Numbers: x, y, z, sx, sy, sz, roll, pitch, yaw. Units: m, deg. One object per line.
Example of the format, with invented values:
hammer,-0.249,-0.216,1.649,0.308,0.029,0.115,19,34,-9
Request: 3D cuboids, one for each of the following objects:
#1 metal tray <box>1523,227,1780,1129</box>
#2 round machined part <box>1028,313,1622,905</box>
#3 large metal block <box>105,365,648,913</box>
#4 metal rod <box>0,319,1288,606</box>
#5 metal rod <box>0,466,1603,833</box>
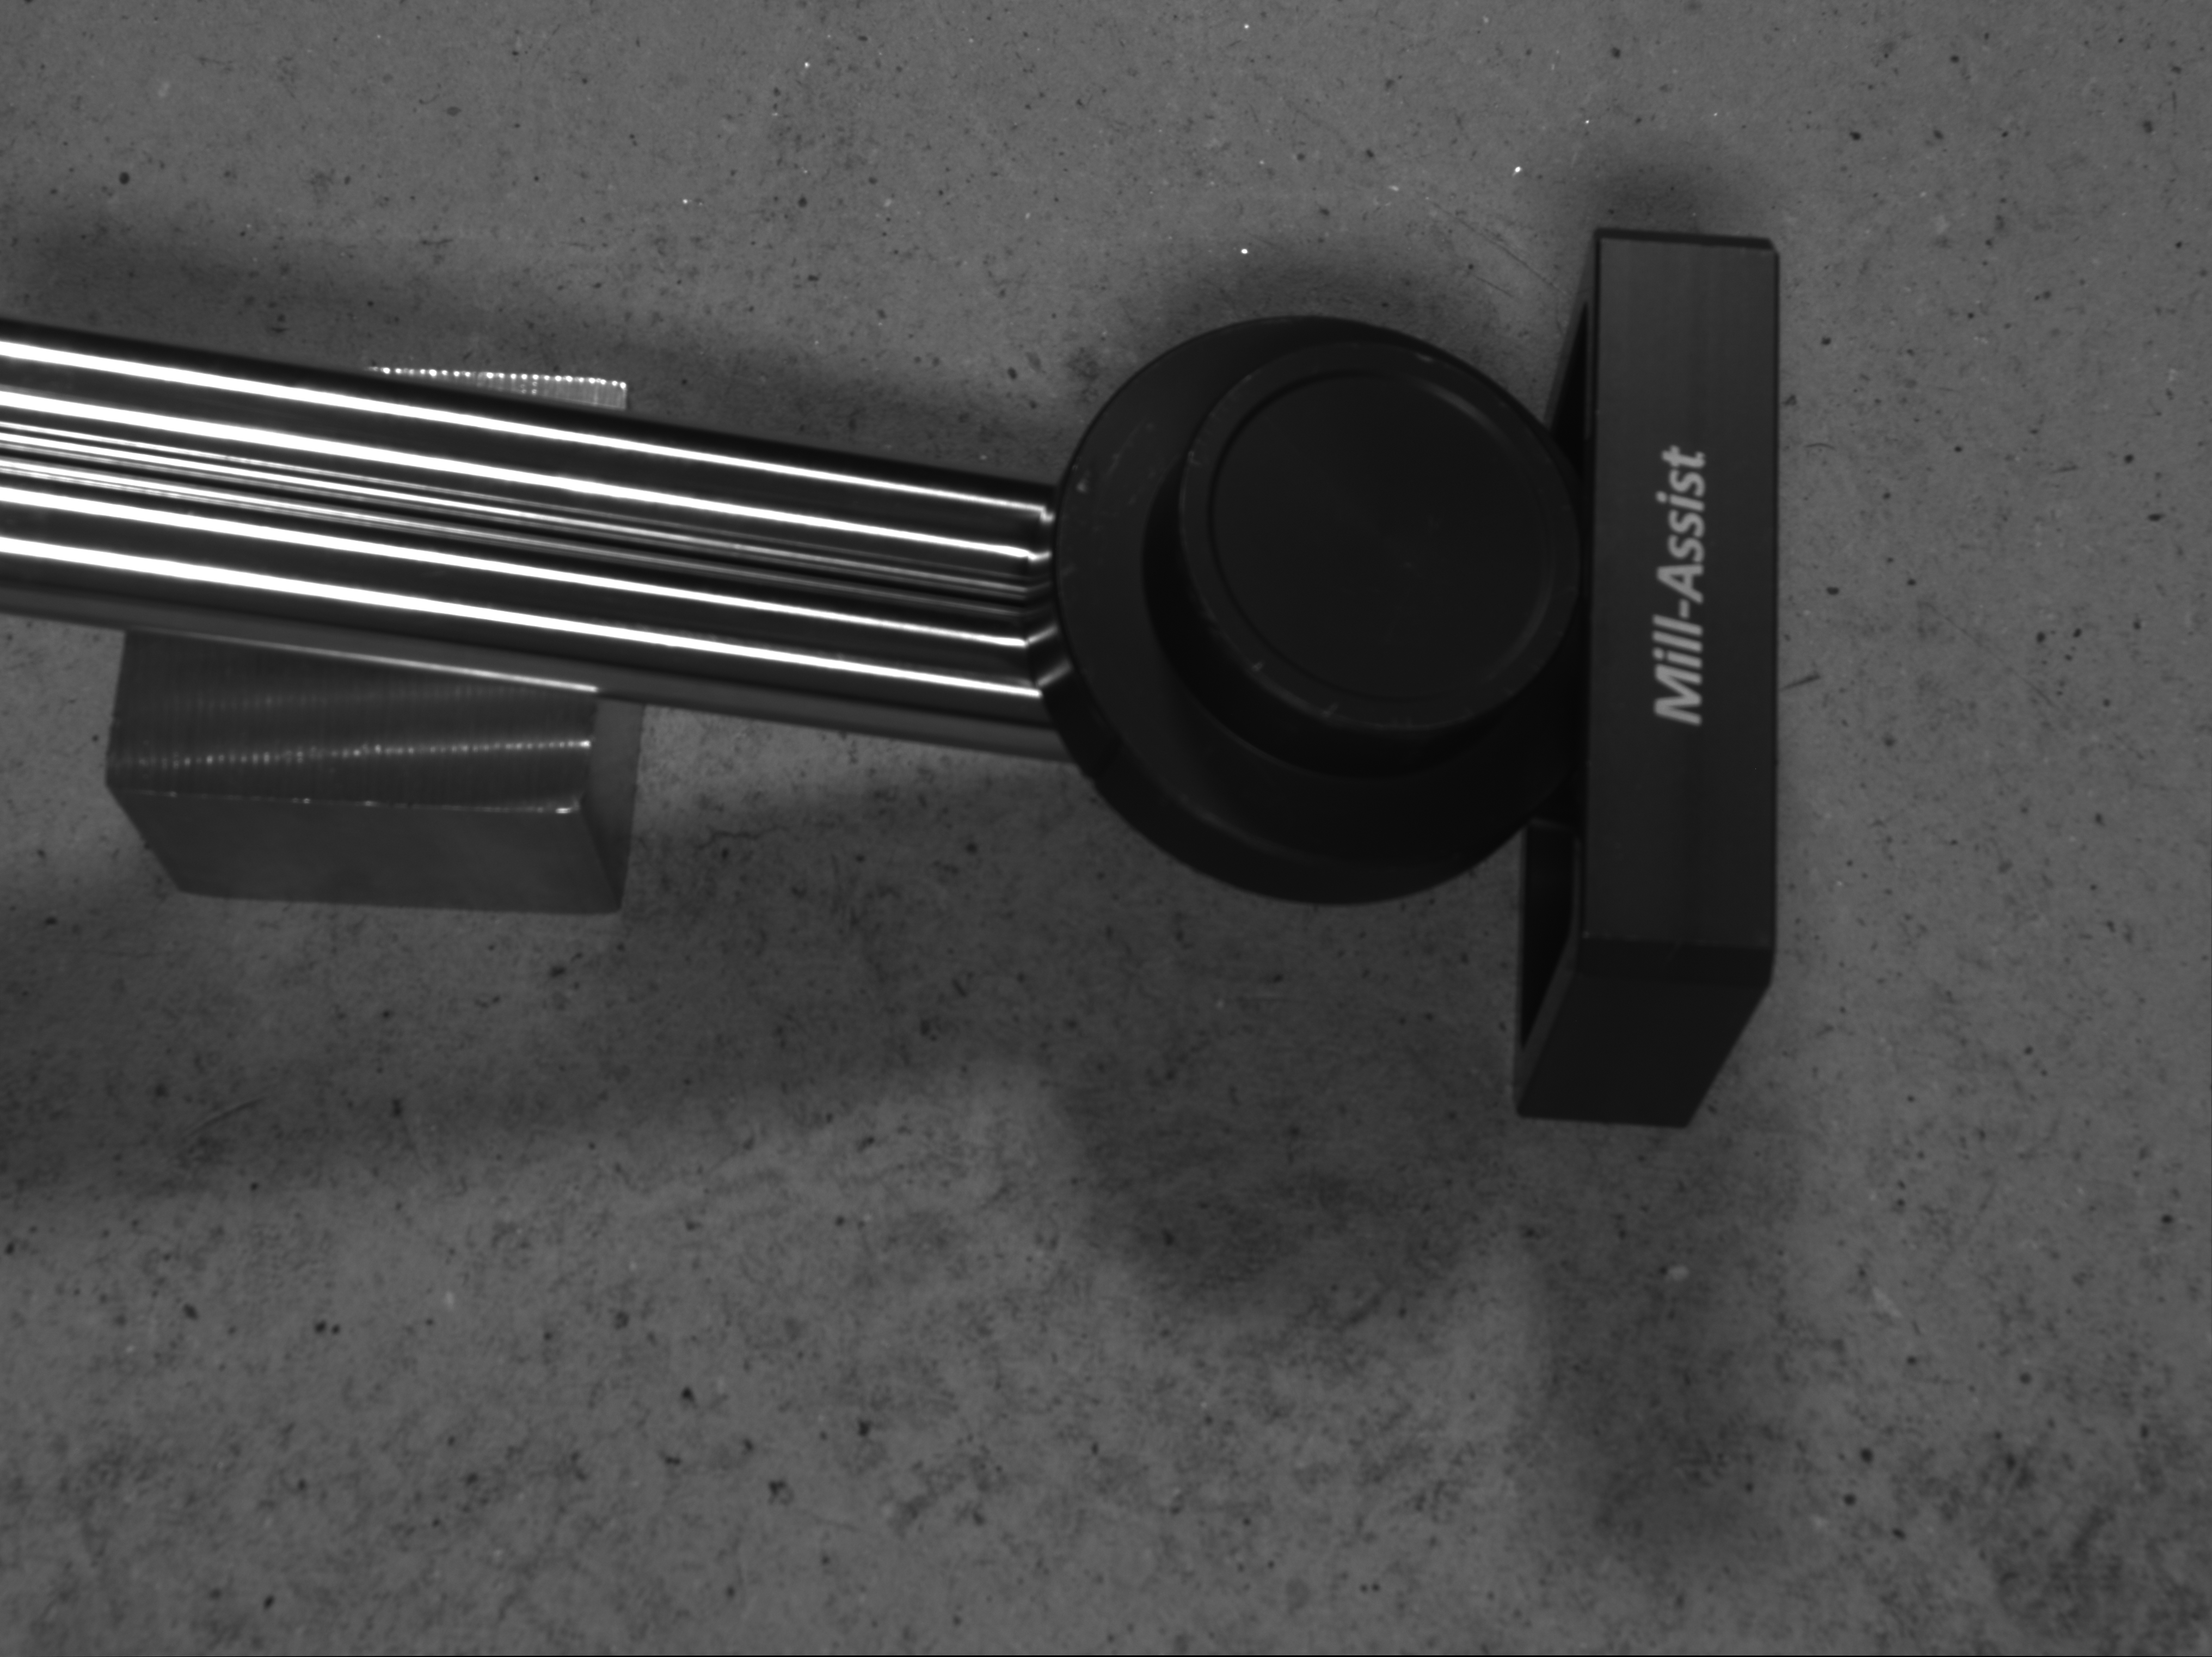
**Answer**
metal tray,0.091,-0.024,0.619,0.030,0.090,0.130,3,70,1
round machined part,0.039,-0.040,0.599,0.098,0.042,0.098,3,72,-10
large metal block,-0.123,-0.033,0.640,0.080,0.050,0.080,3,70,1
metal rod,-0.059,-0.056,0.617,0.300,0.025,0.025,7,69,-11
metal rod,-0.061,-0.030,0.608,0.300,0.025,0.025,7,69,-11
